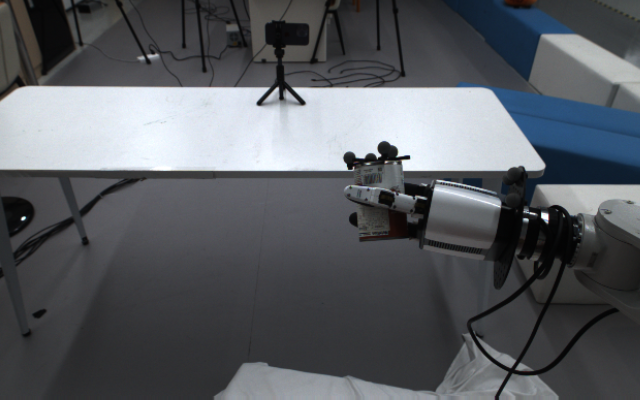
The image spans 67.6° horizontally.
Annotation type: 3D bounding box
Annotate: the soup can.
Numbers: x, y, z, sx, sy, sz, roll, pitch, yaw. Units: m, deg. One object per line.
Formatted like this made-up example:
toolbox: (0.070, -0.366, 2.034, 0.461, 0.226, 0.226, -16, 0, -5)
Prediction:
soup can: (0.083, 0.003, 0.649, 0.067, 0.101, 0.067, -5, -5, 0)
